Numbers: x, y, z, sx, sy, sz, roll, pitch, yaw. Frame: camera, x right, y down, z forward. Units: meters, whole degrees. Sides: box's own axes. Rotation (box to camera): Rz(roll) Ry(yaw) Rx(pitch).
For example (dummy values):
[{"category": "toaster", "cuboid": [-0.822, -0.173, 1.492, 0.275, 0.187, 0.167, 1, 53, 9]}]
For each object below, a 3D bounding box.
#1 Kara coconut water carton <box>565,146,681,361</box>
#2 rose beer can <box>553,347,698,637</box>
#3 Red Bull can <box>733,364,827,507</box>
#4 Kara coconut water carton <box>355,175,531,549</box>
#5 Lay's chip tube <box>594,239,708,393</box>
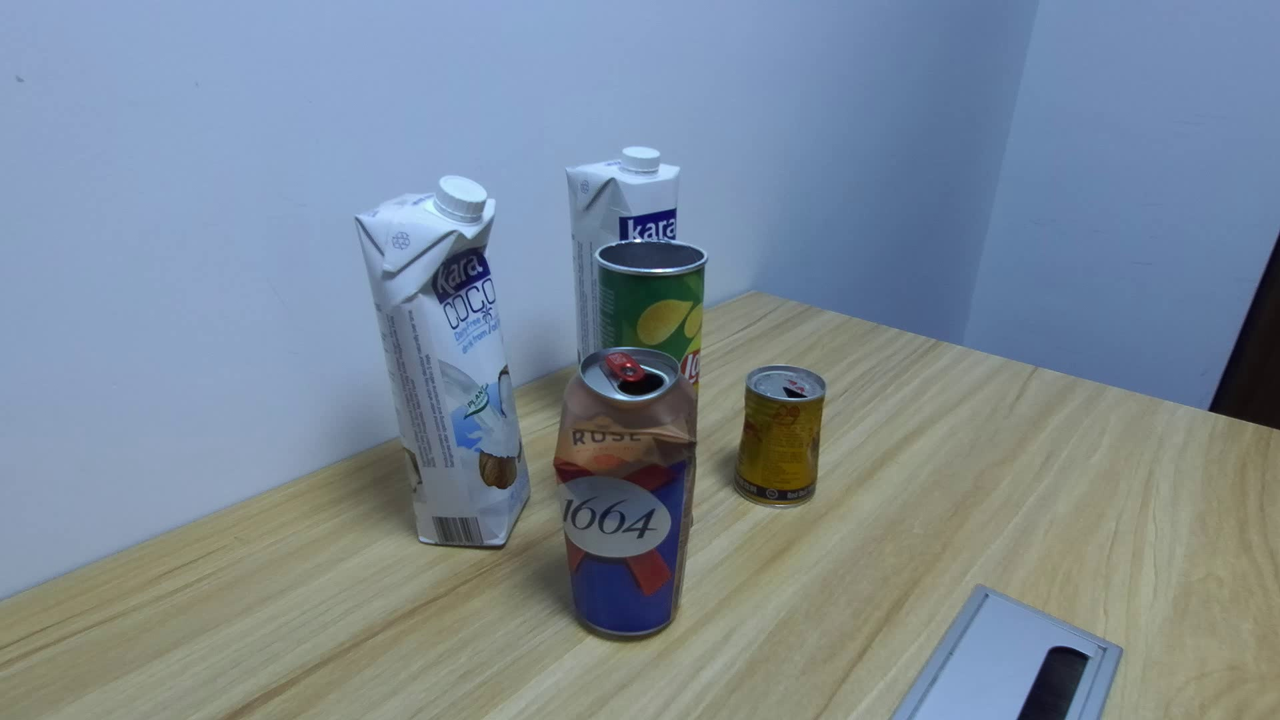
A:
[{"category": "Kara coconut water carton", "cuboid": [-0.011, -0.049, 0.587, 0.077, 0.245, 0.075, -21, 28, -40]}, {"category": "rose beer can", "cuboid": [-0.007, 0.078, 0.402, 0.075, 0.167, 0.065, 14, 30, 19]}, {"category": "Red Bull can", "cuboid": [0.108, 0.058, 0.541, 0.069, 0.092, 0.069, 0, 24, 0]}, {"category": "Kara coconut water carton", "cuboid": [-0.123, 0.004, 0.471, 0.071, 0.244, 0.099, 1, 27, 8]}, {"category": "Lay's chip tube", "cuboid": [0.005, 0.024, 0.473, 0.071, 0.202, 0.071, 1, 25, 0]}]
